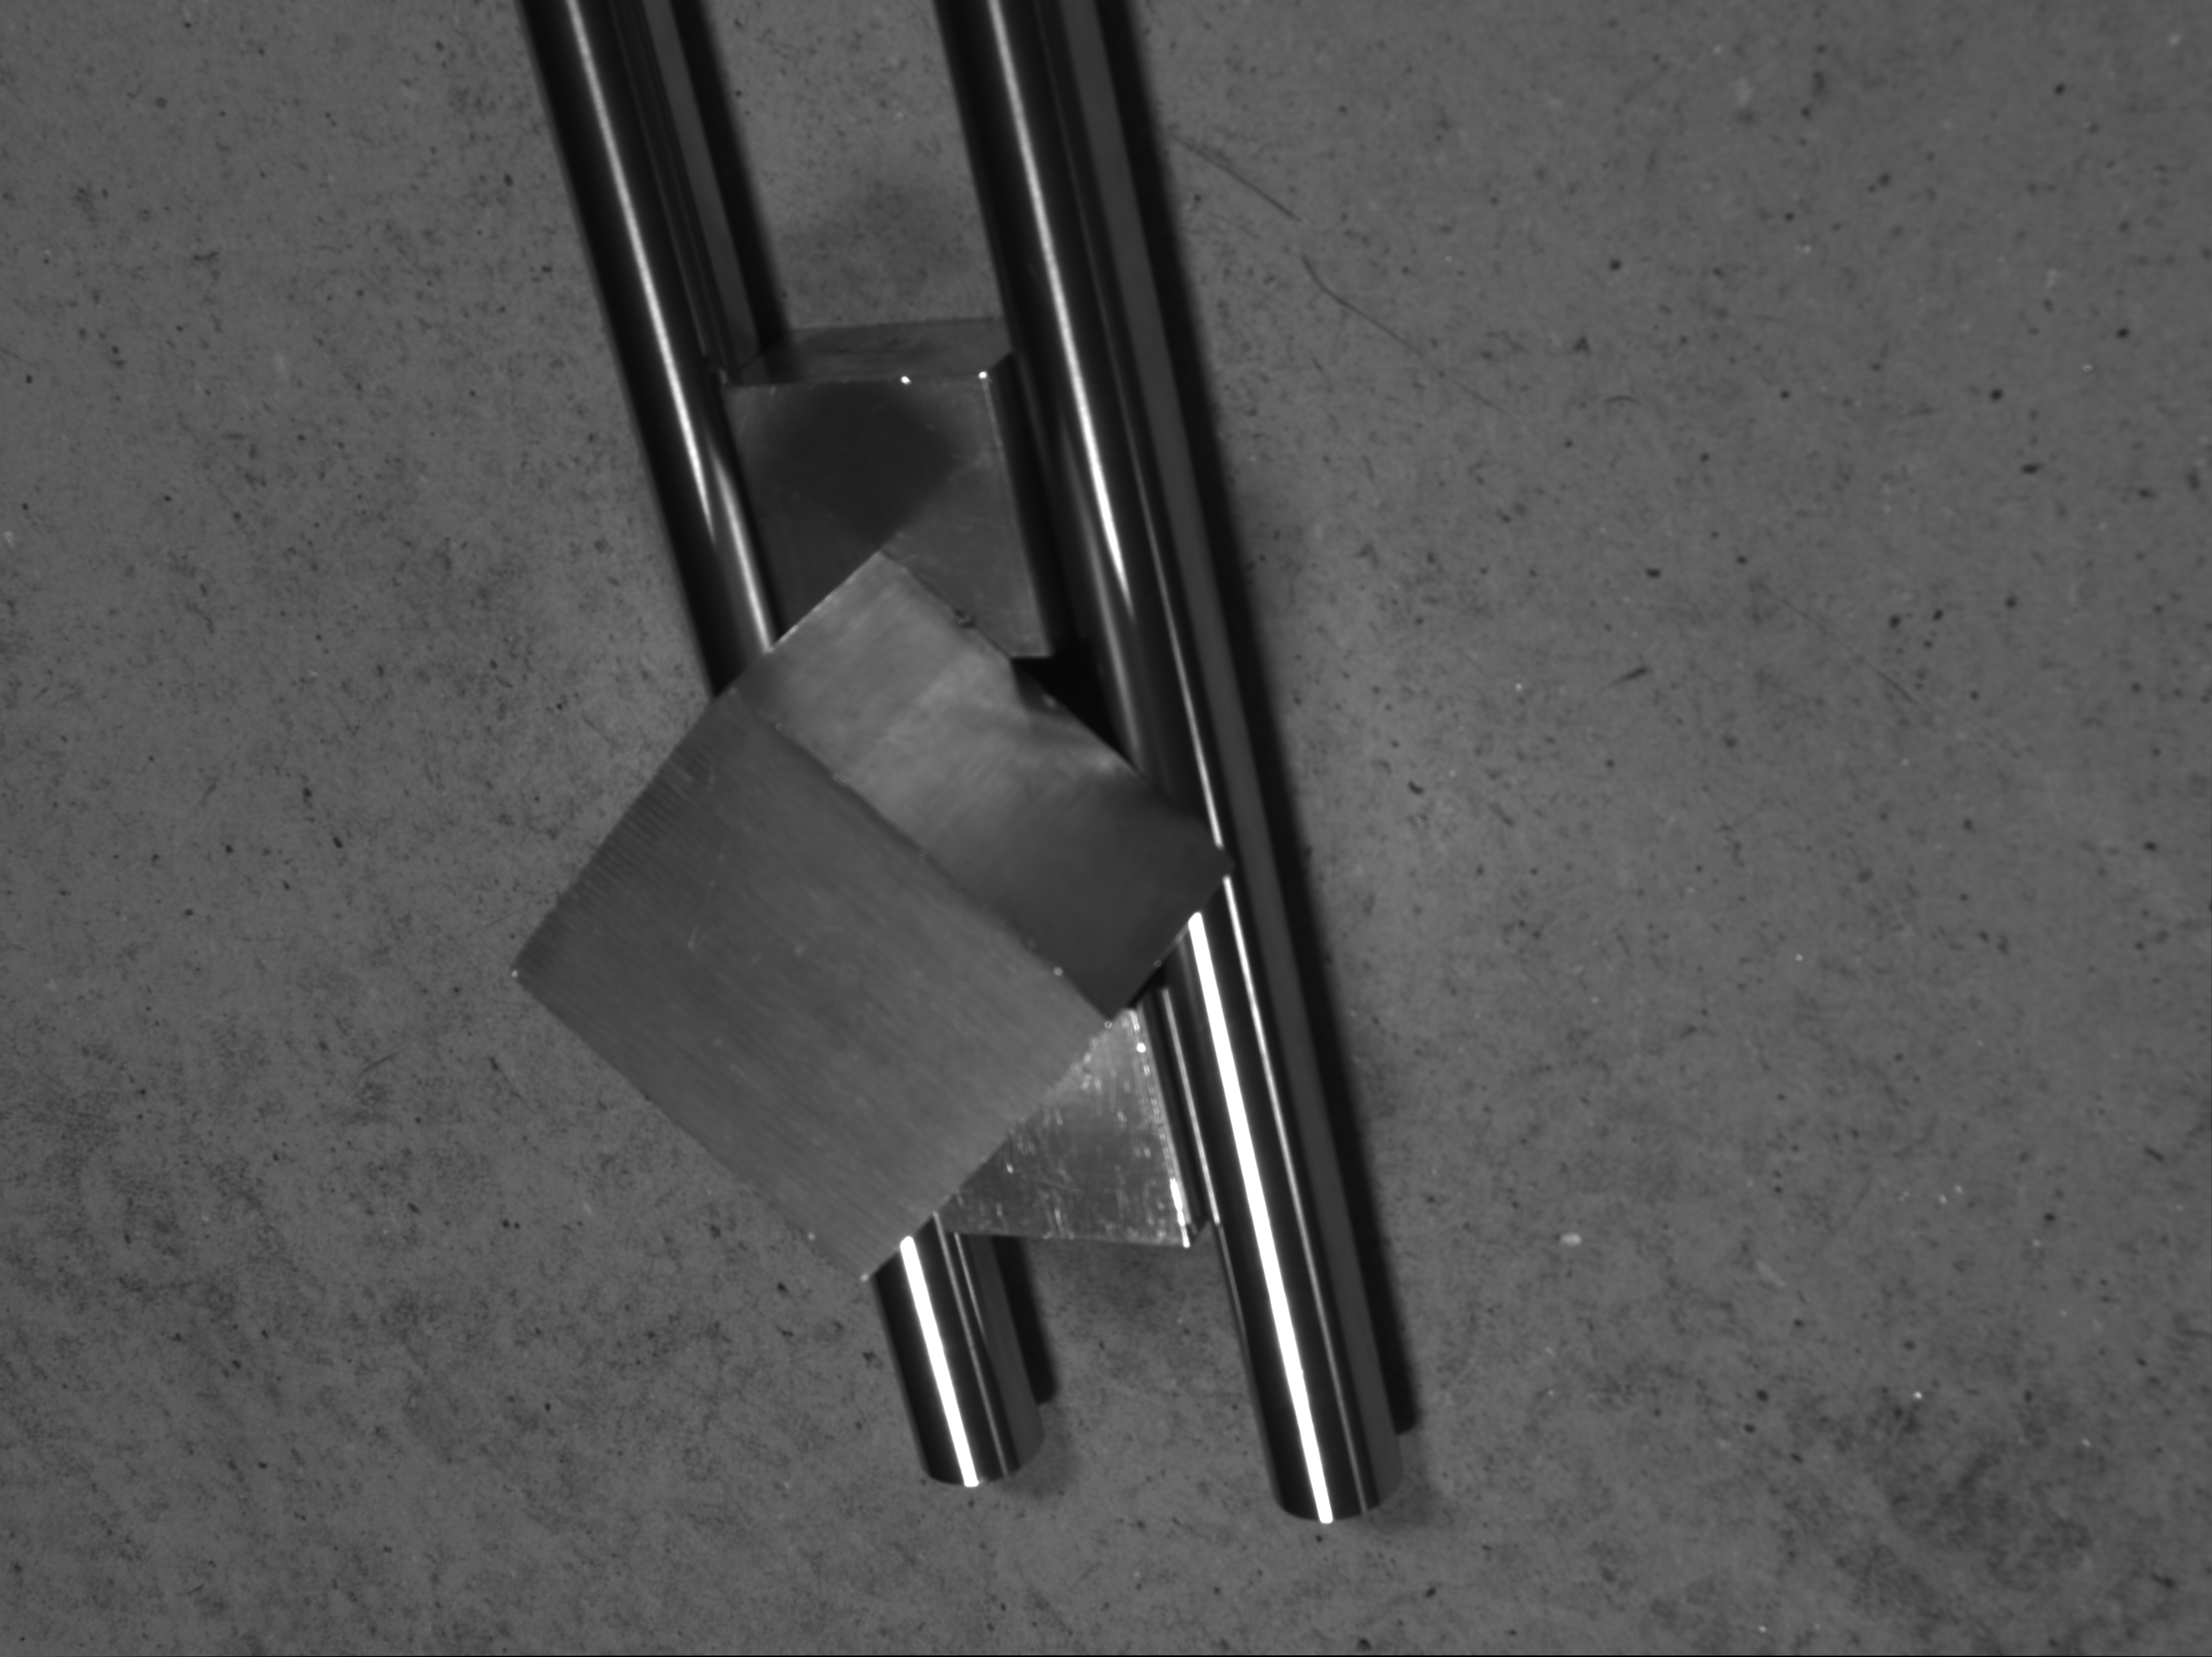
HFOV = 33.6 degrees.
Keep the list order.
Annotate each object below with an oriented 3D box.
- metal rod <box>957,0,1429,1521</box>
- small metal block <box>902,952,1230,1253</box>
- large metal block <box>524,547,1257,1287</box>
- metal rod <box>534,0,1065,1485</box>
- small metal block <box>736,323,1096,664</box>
[{"bbox_3d":[0.017,-0.011,0.617,0.025,0.025,0.300,0,118,26],"label":"metal rod"},{"bbox_3d":[-0.004,0.047,0.660,0.050,0.025,0.050,1,119,26],"label":"small metal block"},{"bbox_3d":[-0.036,0.015,0.608,0.080,0.050,0.080,42,128,-1],"label":"large metal block"},{"bbox_3d":[-0.051,-0.012,0.650,0.025,0.025,0.300,0,118,26],"label":"metal rod"},{"bbox_3d":[-0.028,-0.055,0.611,0.050,0.025,0.050,1,119,26],"label":"small metal block"}]
